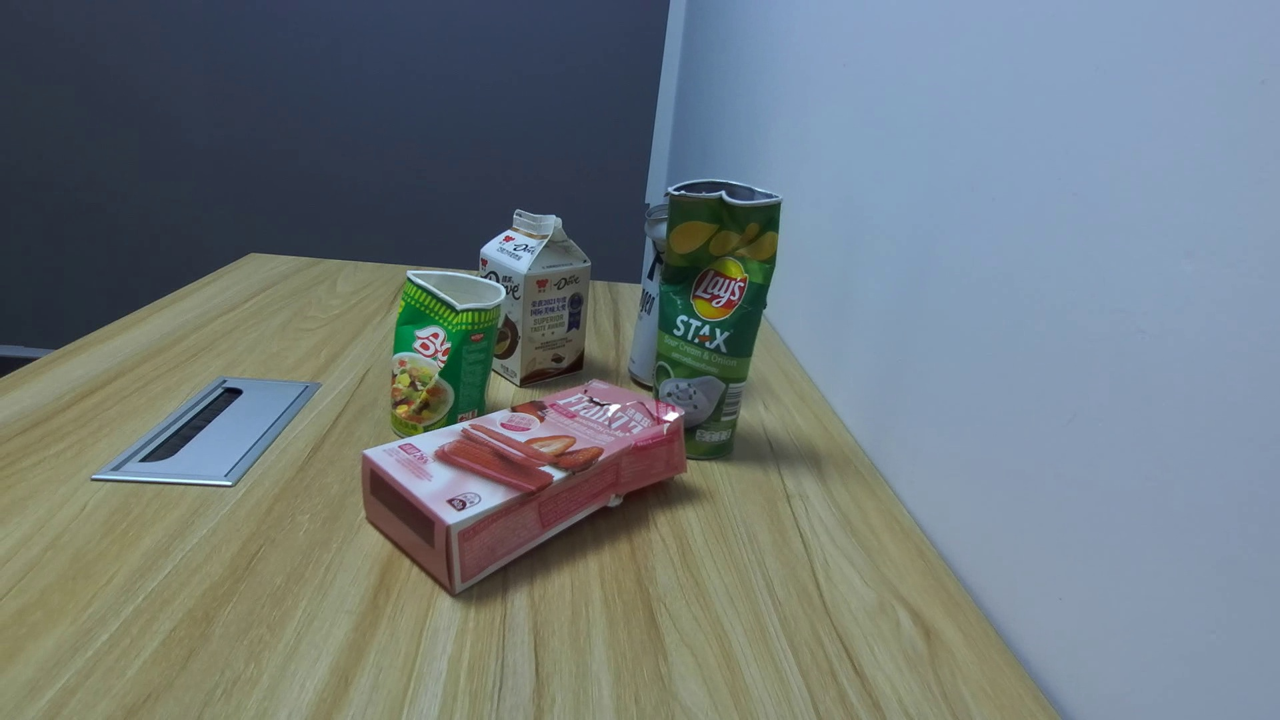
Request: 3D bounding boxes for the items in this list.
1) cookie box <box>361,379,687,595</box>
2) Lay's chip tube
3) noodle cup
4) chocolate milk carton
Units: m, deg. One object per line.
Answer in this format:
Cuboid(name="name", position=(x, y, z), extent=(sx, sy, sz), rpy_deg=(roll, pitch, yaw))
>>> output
Cuboid(name="cookie box", position=(-0.067, 0.069, 0.449), extent=(0.187, 0.059, 0.104), rpy_deg=(-19, 29, -41))
Cuboid(name="Lay's chip tube", position=(0.051, -0.029, 0.522), extent=(0.077, 0.201, 0.069), rpy_deg=(3, 21, -1))
Cuboid(name="noodle cup", position=(-0.147, -0.002, 0.526), extent=(0.075, 0.122, 0.082), rpy_deg=(9, 11, -16))
Cuboid(name="chocolate milk carton", position=(-0.095, -0.061, 0.636), extent=(0.074, 0.148, 0.075), rpy_deg=(-16, 32, -40))
